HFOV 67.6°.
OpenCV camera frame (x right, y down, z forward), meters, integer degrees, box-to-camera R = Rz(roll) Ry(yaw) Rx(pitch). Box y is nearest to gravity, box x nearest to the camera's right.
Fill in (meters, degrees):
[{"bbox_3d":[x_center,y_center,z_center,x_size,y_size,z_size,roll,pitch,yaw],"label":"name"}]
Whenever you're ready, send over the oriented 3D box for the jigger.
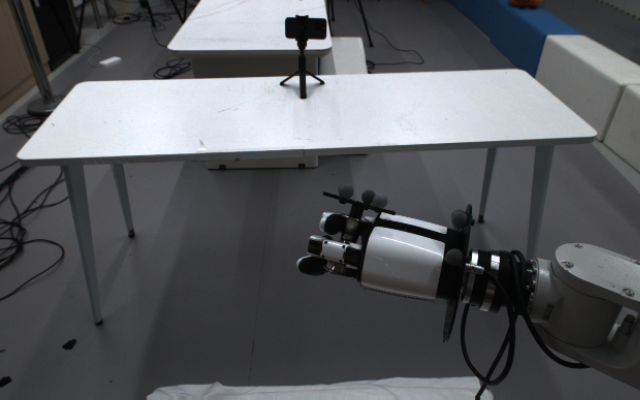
[{"bbox_3d":[0.034,0.053,0.578,0.043,0.071,0.043,17,2,-1],"label":"jigger"}]
